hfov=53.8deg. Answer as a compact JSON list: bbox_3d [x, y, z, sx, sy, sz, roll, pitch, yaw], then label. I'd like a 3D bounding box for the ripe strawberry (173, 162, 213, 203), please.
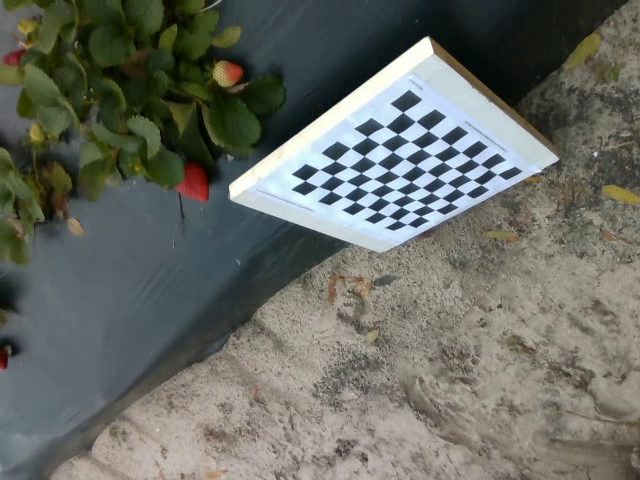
[{"bbox_3d":[-0.127,-0.052,0.593,0.046,0.036,0.037,40,-18,12],"label":"ripe strawberry"}]
